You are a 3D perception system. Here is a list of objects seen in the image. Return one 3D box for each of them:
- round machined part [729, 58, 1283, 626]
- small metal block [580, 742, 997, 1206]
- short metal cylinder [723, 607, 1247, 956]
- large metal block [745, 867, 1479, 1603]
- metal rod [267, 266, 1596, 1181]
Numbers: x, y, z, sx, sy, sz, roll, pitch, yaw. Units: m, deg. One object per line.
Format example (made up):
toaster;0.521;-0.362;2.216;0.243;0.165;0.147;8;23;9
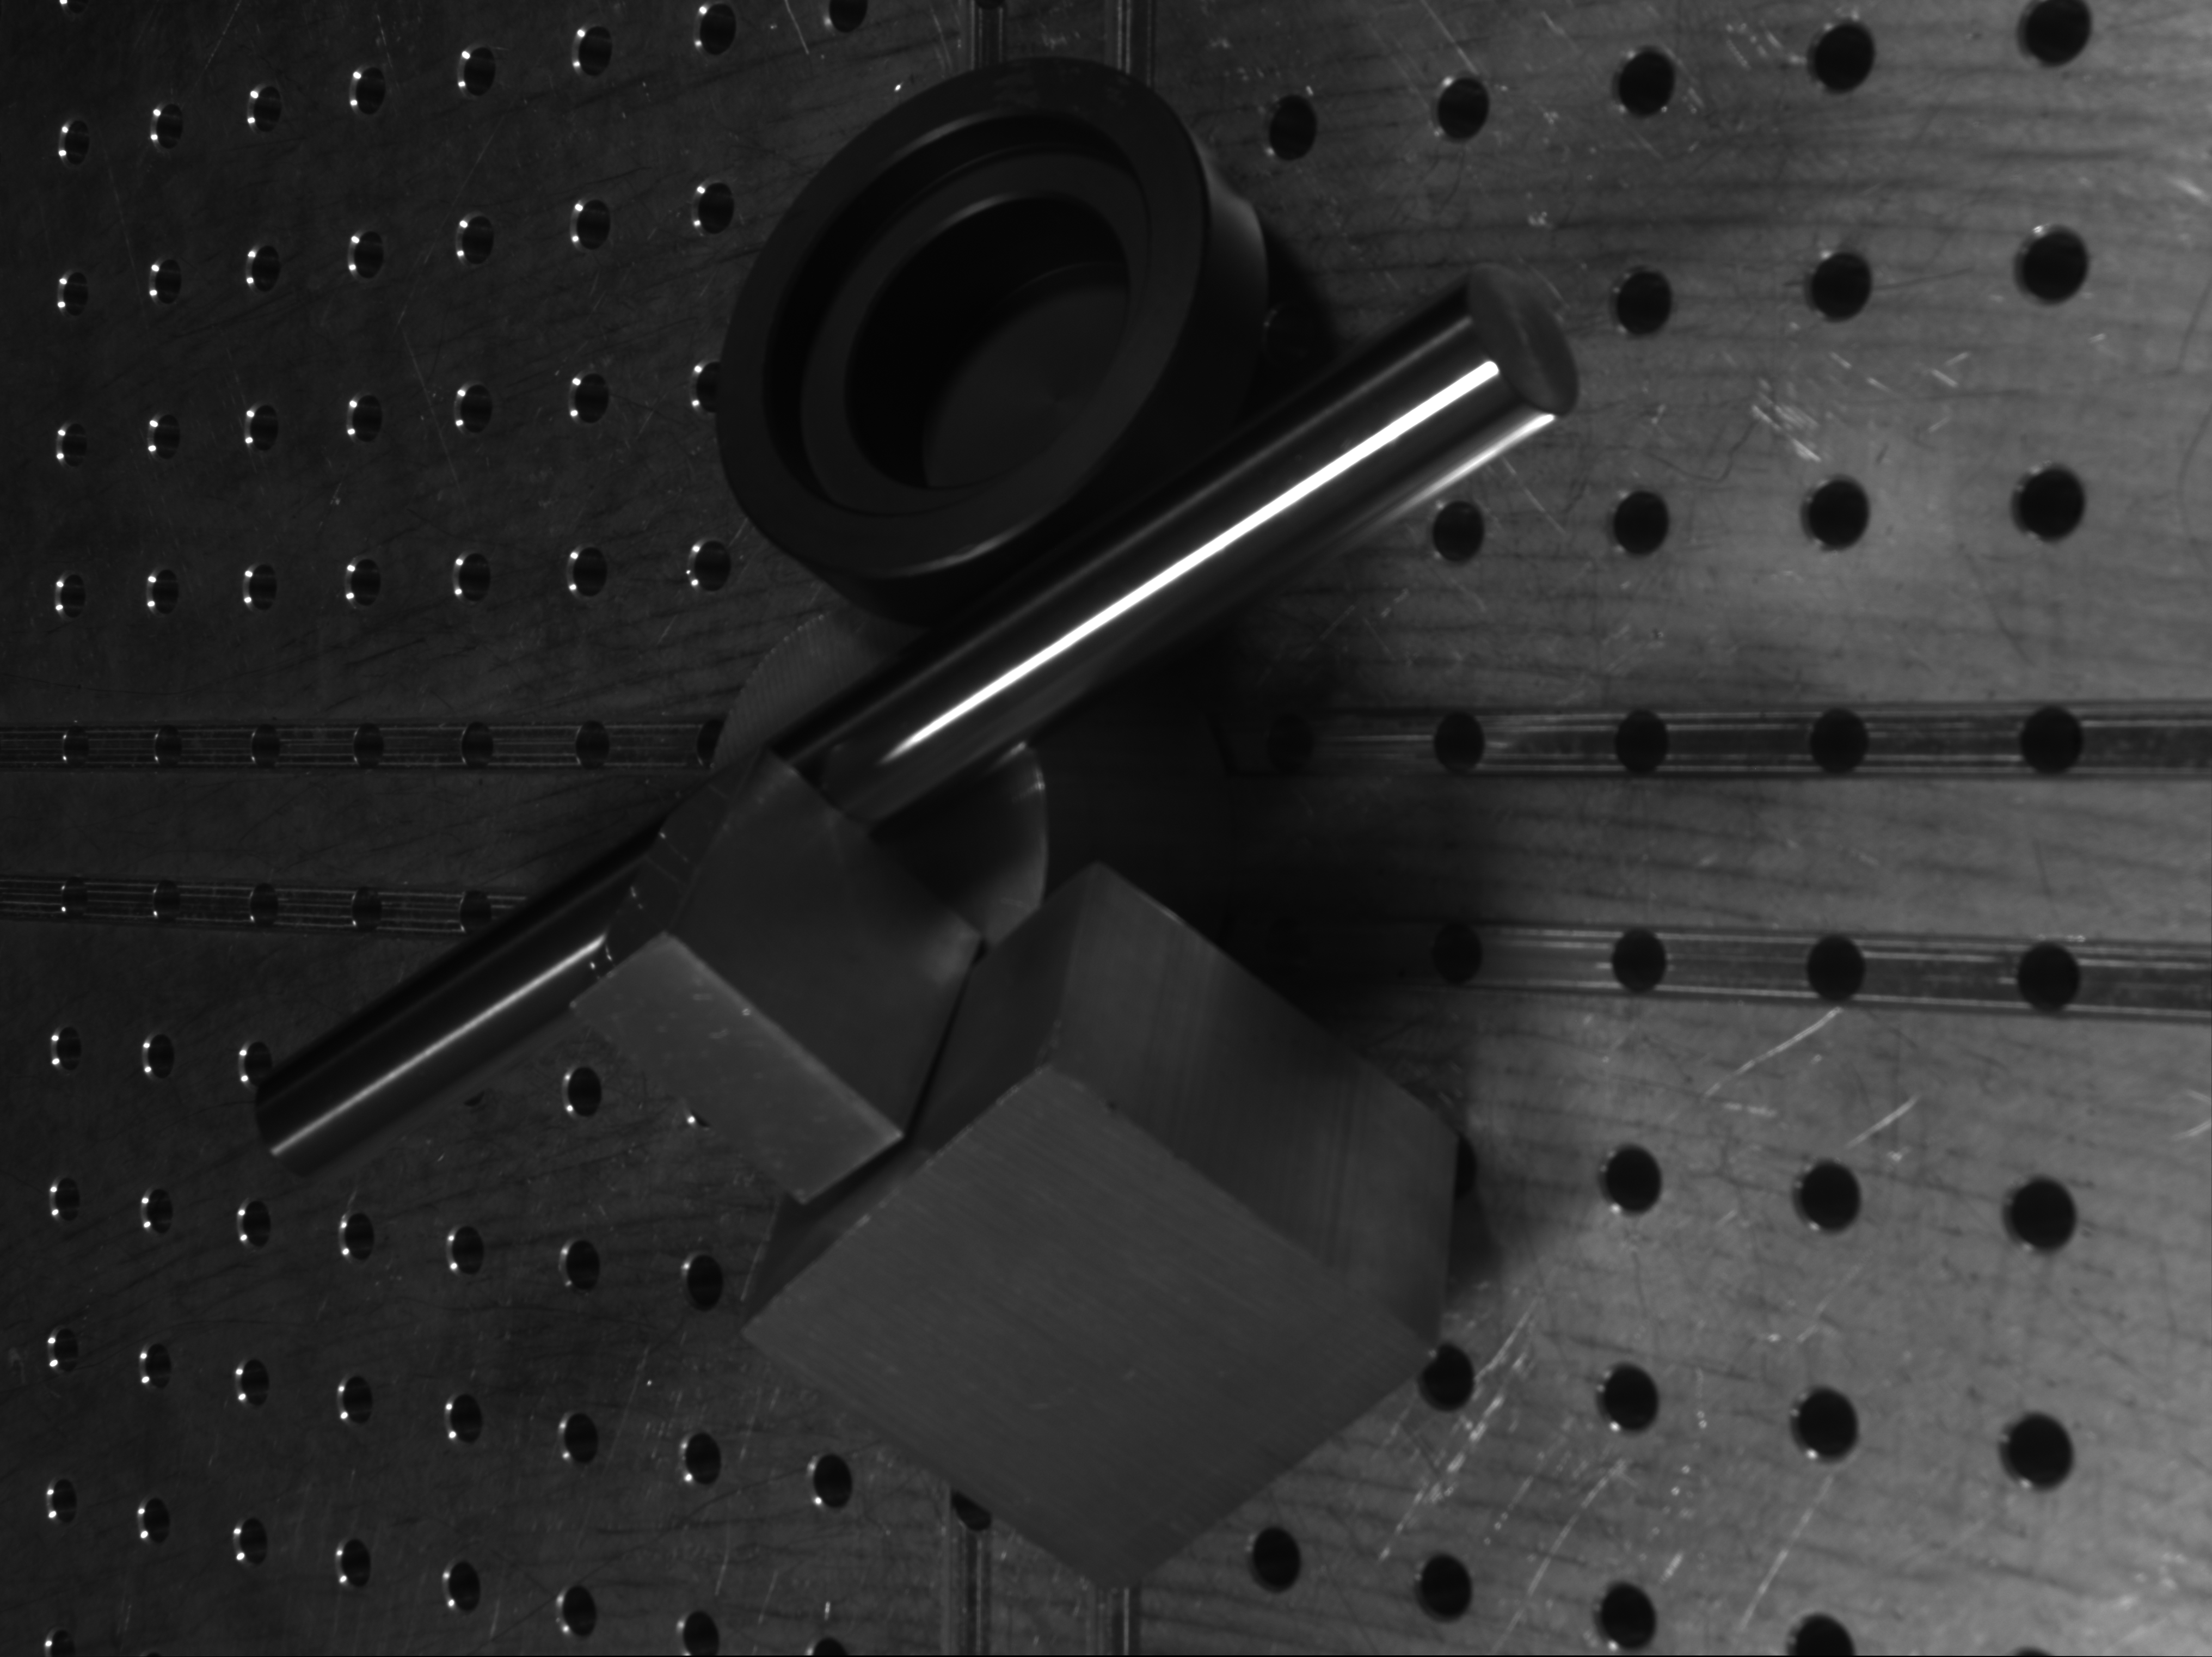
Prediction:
round machined part;-0.013;-0.078;0.624;0.098;0.042;0.098;-15;60;27
small metal block;-0.050;0.023;0.585;0.050;0.050;0.025;43;125;-16
short metal cylinder;-0.022;0.002;0.641;0.080;0.050;0.080;0;90;39
large metal block;0.002;0.067;0.592;0.080;0.050;0.080;37;123;-16
metal rod;-0.043;-0.007;0.609;0.299;0.025;0.025;-31;71;35
